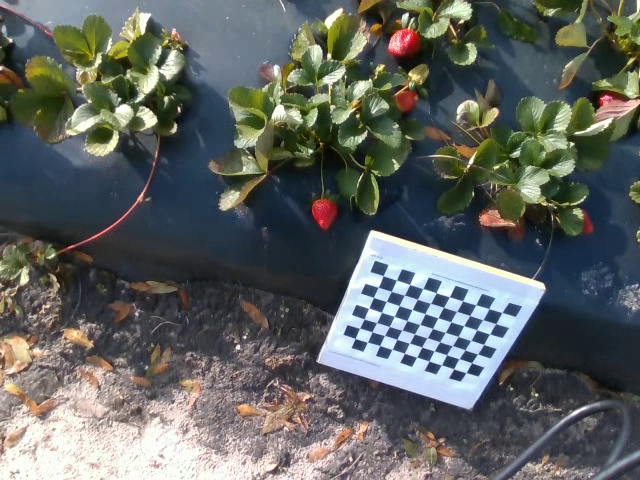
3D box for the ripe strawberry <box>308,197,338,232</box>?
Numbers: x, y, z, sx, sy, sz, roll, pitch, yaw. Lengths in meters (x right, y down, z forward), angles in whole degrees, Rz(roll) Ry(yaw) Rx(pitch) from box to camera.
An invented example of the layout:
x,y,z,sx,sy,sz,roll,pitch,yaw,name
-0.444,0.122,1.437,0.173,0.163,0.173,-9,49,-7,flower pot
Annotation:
x,y,z,sx,sy,sz,roll,pitch,yaw,name
0.006,-0.033,0.810,0.041,0.047,0.041,-4,-28,19,ripe strawberry
